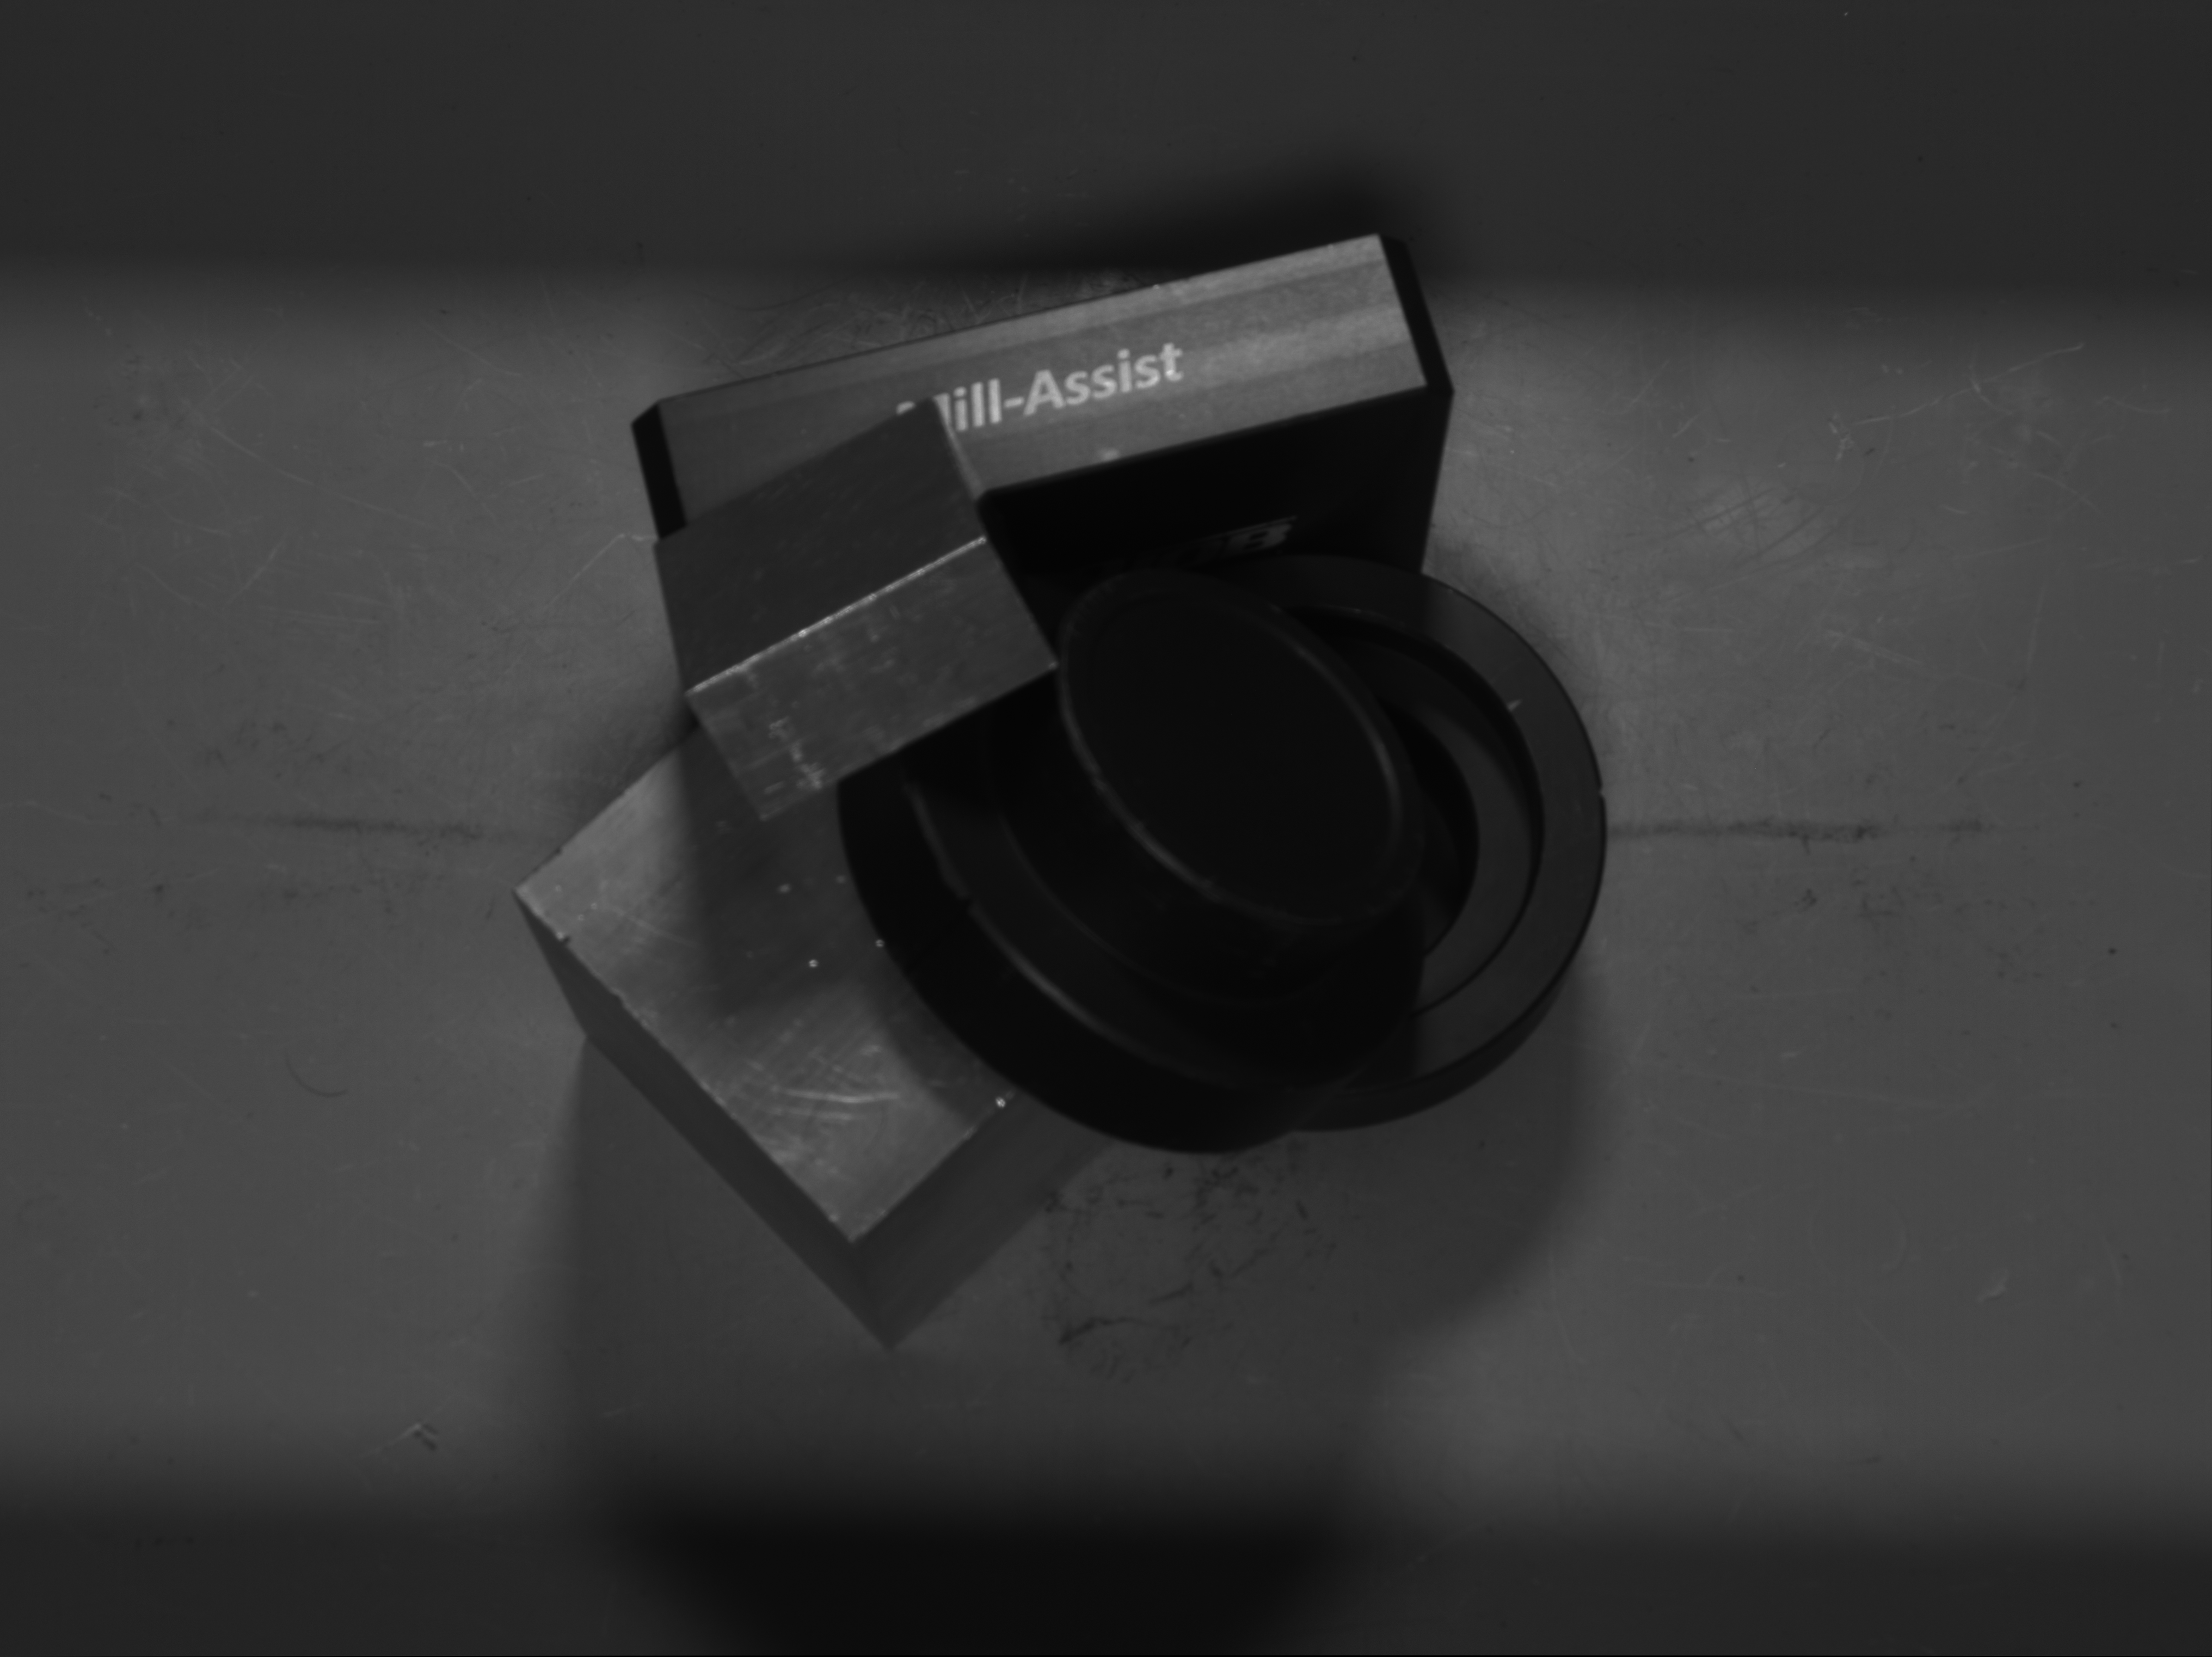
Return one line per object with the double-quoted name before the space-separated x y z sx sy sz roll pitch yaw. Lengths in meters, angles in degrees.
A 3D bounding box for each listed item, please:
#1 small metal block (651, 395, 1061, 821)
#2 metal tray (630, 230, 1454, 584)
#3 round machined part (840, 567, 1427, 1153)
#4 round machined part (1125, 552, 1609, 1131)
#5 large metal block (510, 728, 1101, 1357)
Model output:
"small metal block" -0.039 -0.034 0.558 0.050 0.025 0.050 -27 33 4
"metal tray" -0.010 -0.055 0.629 0.130 0.090 0.030 -14 71 -5
"round machined part" 0.011 -0.002 0.574 0.098 0.042 0.098 23 43 -24
"round machined part" 0.036 0.005 0.634 0.098 0.042 0.098 0 70 0
"large metal block" -0.047 0.033 0.603 0.050 0.080 0.080 -42 75 -14
